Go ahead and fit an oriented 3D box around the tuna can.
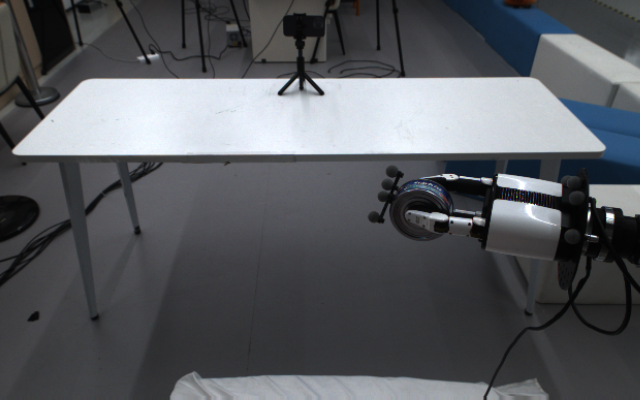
[{"bbox_3d":[0.145,0.013,0.684,0.085,0.085,0.034,12,30,14],"label":"tuna can"}]
